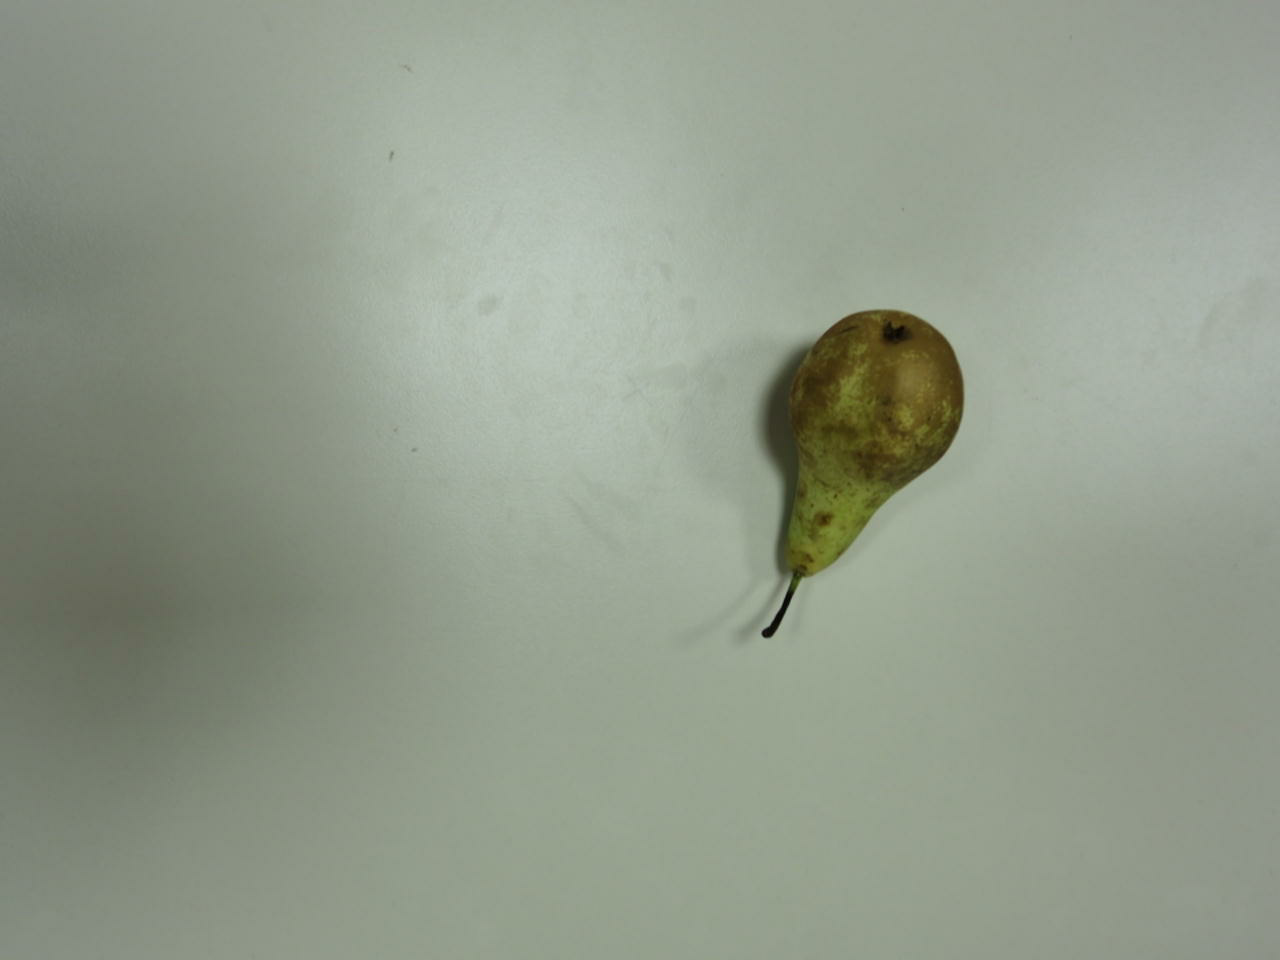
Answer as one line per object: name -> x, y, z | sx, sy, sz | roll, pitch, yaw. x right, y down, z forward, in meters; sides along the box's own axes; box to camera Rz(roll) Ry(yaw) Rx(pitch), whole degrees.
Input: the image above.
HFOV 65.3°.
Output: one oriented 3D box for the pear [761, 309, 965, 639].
pear -> 0.096, 0.000, 0.423 | 0.071, 0.075, 0.144 | 7, 89, -12
